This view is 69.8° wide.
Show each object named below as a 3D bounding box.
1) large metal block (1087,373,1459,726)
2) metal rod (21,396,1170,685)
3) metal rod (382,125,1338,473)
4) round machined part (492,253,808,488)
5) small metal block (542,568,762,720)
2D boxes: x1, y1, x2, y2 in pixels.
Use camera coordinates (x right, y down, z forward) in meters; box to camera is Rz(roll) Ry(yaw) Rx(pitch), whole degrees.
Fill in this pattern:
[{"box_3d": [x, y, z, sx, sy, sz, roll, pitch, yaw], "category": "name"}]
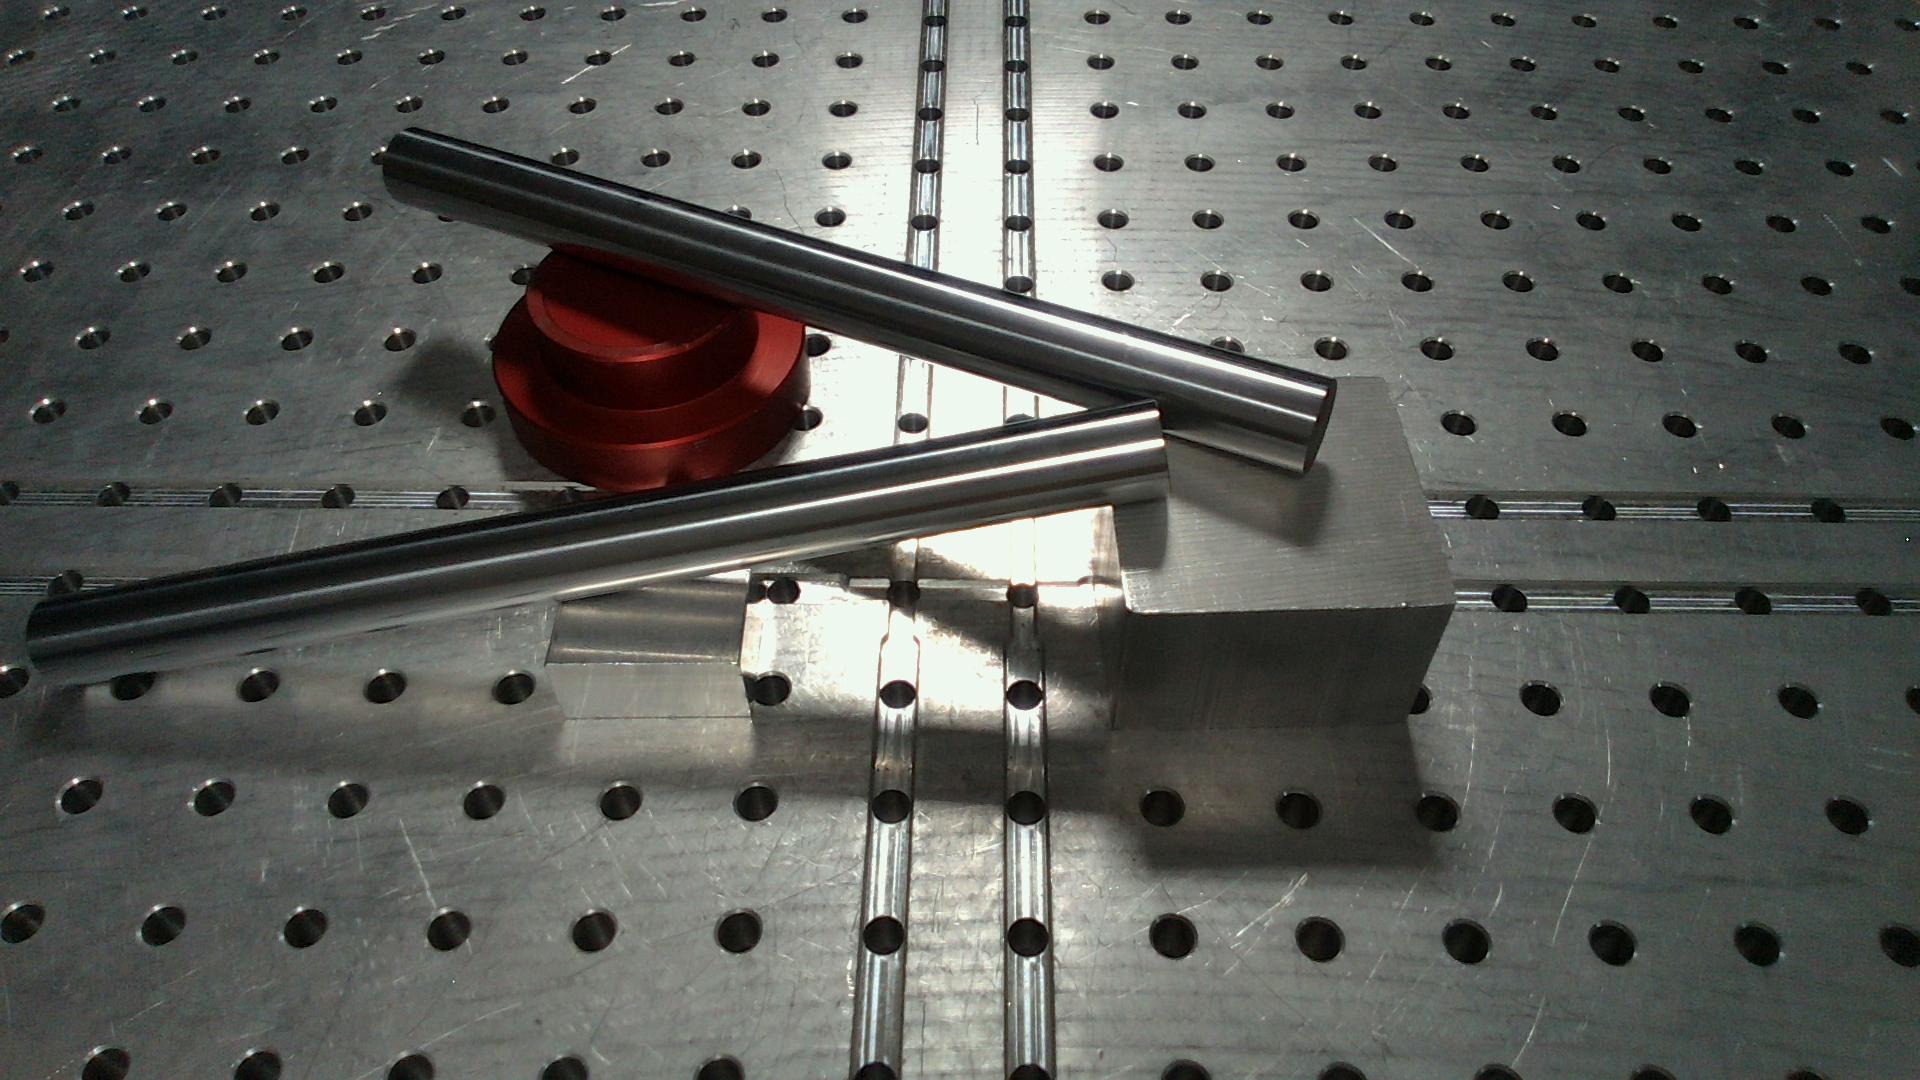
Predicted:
[{"box_3d": [0.079, 0.002, 0.373, 0.080, 0.050, 0.080, -1, 50, -1], "category": "large metal block"}, {"box_3d": [-0.097, 0.002, 0.357, 0.300, 0.025, 0.025, -10, 50, 5], "category": "metal rod"}, {"box_3d": [-0.043, -0.075, 0.395, 0.299, 0.025, 0.025, 19, 52, 19], "category": "metal rod"}, {"box_3d": [-0.099, -0.065, 0.438, 0.098, 0.042, 0.098, 0, 50, 0], "category": "round machined part"}, {"box_3d": [-0.082, 0.021, 0.377, 0.050, 0.025, 0.050, 0, 50, 0], "category": "small metal block"}]
